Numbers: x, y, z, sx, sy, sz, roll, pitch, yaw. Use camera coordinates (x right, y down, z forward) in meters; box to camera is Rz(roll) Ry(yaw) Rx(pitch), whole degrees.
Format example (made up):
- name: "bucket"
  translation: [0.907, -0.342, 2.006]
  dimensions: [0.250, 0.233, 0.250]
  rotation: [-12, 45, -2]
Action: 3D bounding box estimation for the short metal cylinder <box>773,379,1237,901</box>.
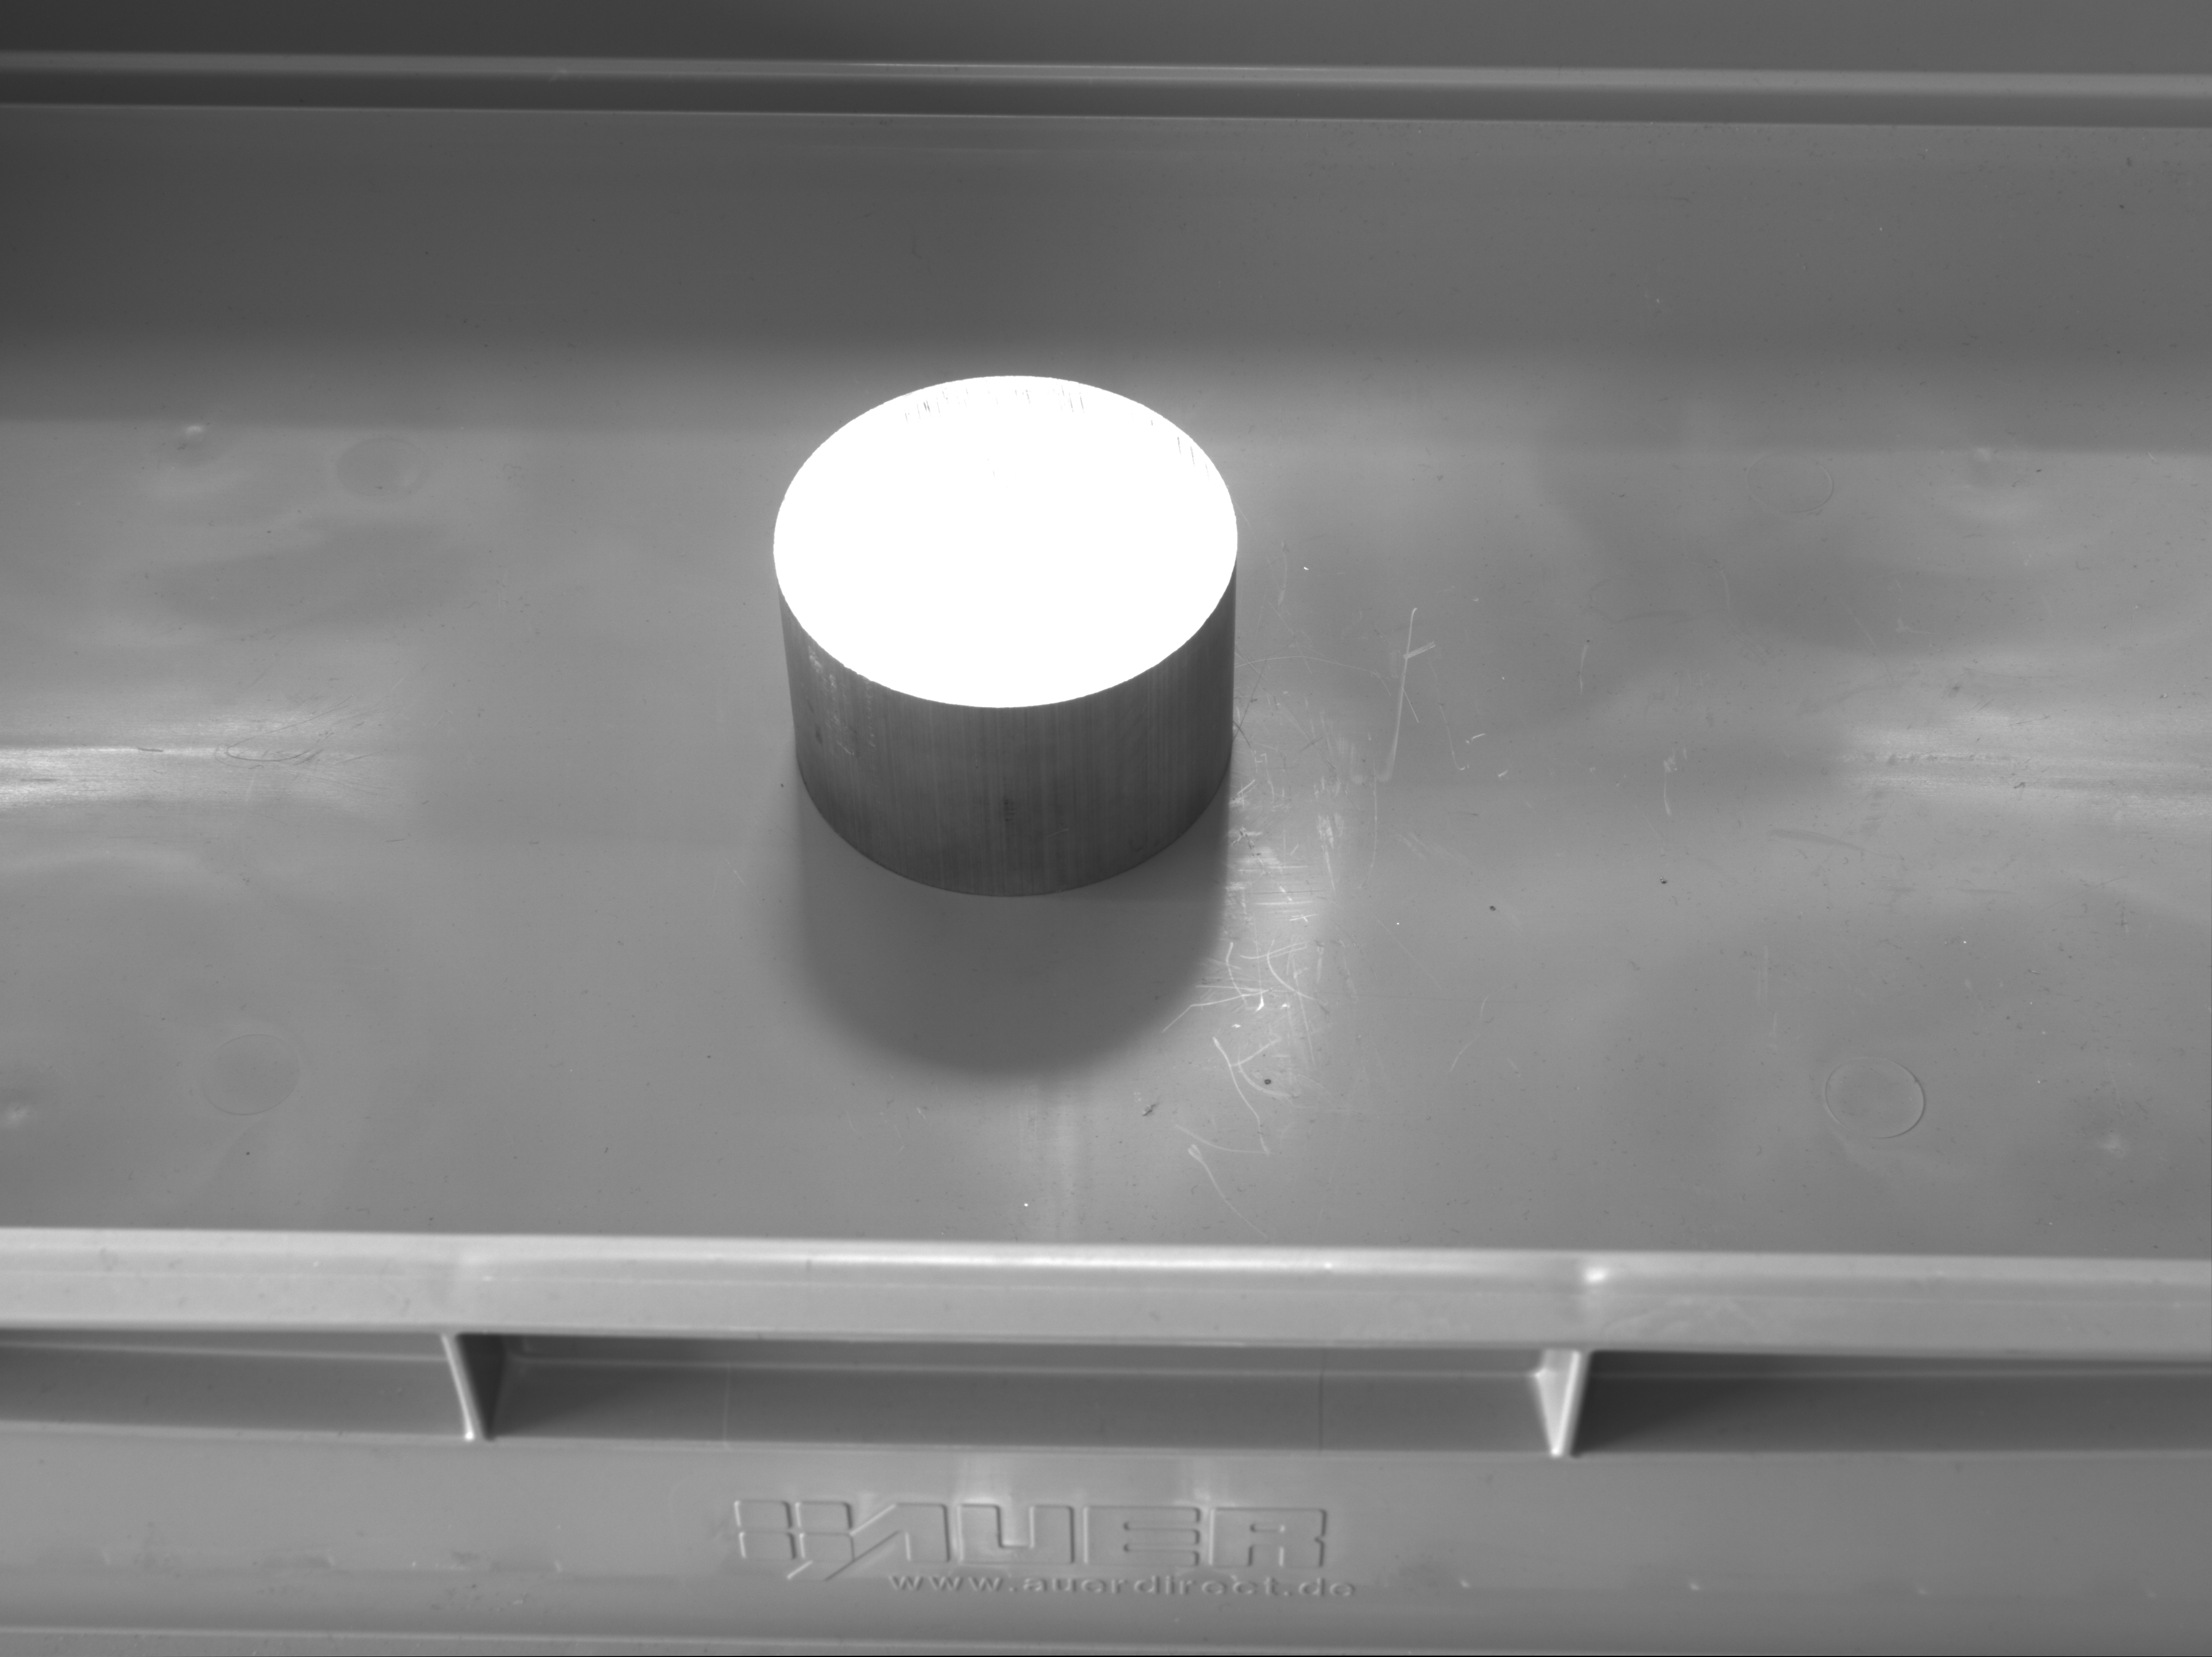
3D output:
- name: "short metal cylinder"
  translation: [-0.017, -0.034, 0.653]
  dimensions: [0.080, 0.050, 0.080]
  rotation: [0, 50, 0]
